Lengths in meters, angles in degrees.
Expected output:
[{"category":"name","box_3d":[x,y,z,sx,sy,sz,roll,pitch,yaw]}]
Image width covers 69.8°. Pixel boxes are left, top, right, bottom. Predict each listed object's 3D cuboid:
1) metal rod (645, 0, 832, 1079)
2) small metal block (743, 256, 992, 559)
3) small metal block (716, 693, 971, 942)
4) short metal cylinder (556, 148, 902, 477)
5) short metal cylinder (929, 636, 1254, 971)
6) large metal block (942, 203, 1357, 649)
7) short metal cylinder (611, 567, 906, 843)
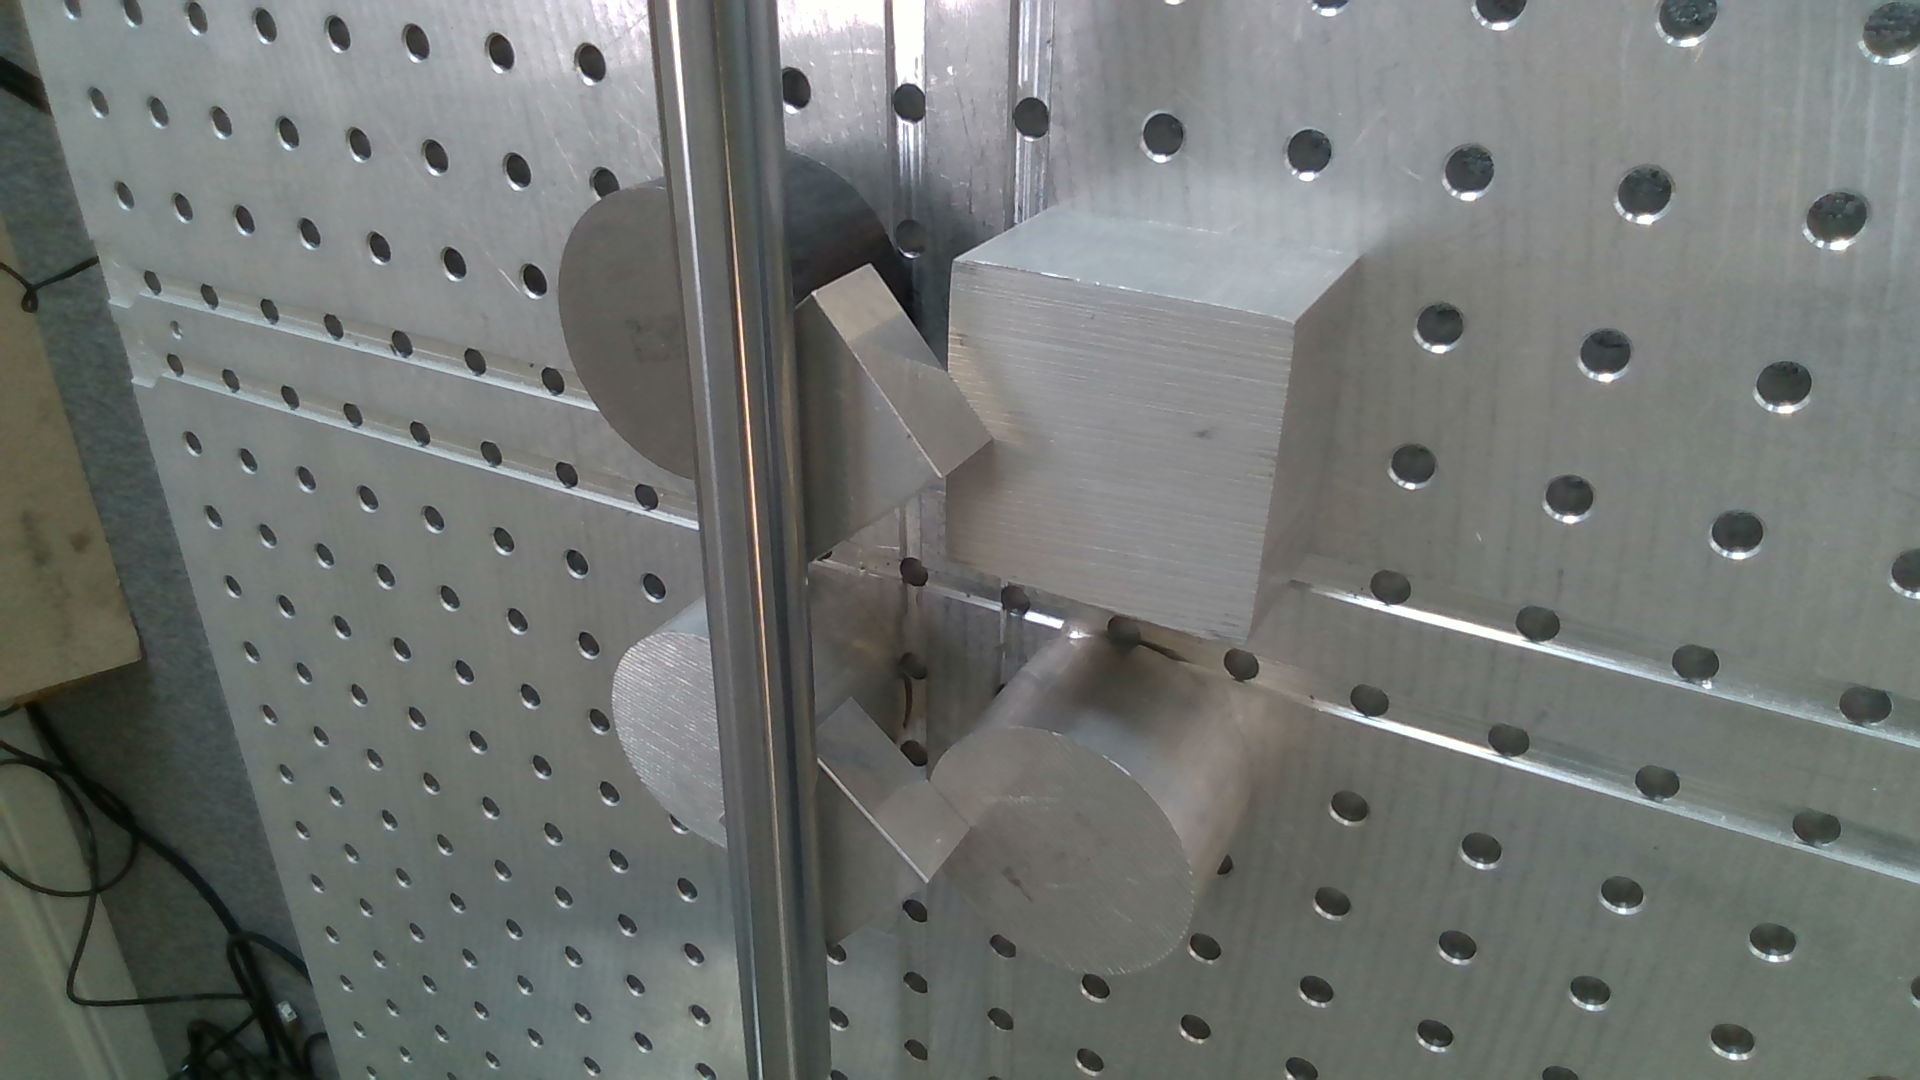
[{"category":"metal rod","box_3d":[-0.049,0.024,0.338,0.025,0.025,0.301,15,122,24]},{"category":"small metal block","box_3d":[-0.029,-0.031,0.329,0.050,0.025,0.050,-30,97,39]},{"category":"small metal block","box_3d":[-0.034,0.080,0.392,0.050,0.025,0.050,48,130,1]},{"category":"short metal cylinder","box_3d":[-0.063,-0.063,0.379,0.080,0.050,0.080,15,122,25]},{"category":"short metal cylinder","box_3d":[0.038,0.074,0.394,0.080,0.050,0.080,15,122,25]},{"category":"large metal block","box_3d":[0.043,-0.030,0.332,0.080,0.050,0.080,15,122,24]},{"category":"short metal cylinder","box_3d":[-0.065,0.053,0.445,0.080,0.050,0.080,15,122,25]}]
